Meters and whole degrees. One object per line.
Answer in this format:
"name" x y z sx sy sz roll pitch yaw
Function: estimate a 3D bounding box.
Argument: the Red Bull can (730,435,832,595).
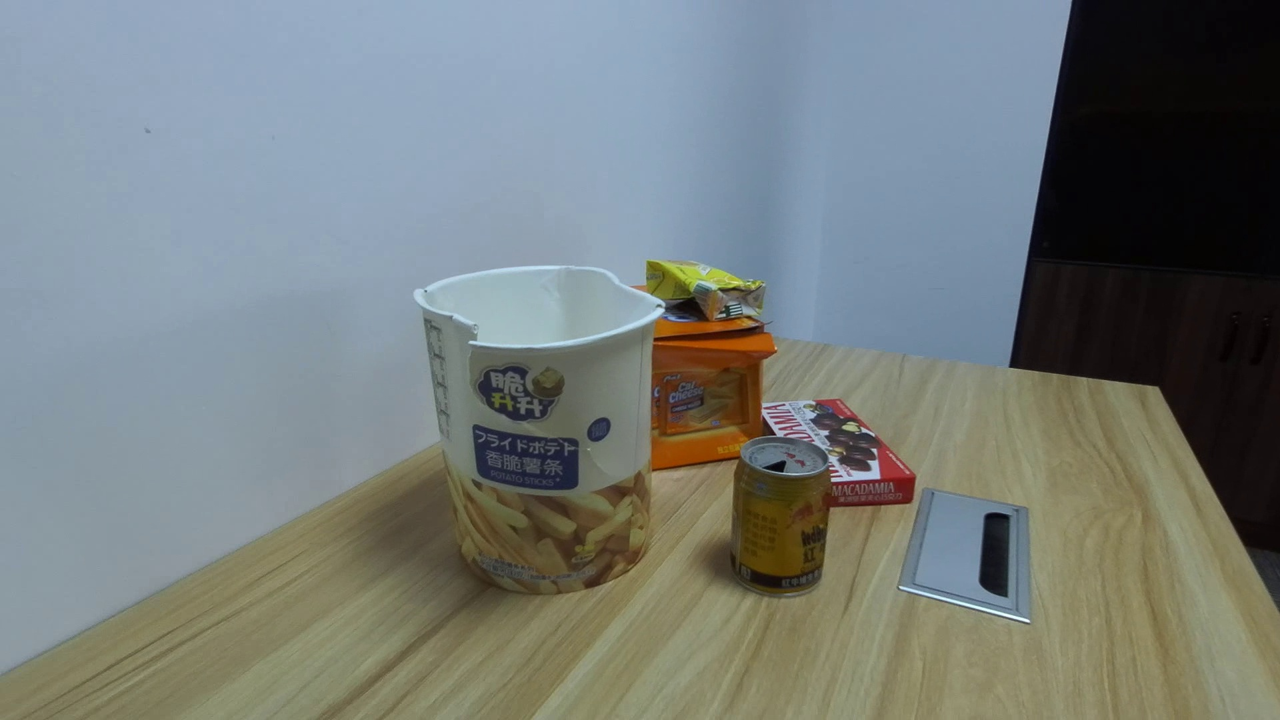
"Red Bull can" 0.096 0.106 0.487 0.068 0.093 0.068 -1 18 0

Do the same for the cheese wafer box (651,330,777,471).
"cheese wafer box" 0.028 0.009 0.737 0.150 0.137 0.226 -4 16 -14

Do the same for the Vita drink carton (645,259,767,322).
"Vita drink carton" 0.063 -0.068 0.697 0.087 0.042 0.107 -4 19 -39

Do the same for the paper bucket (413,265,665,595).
"paper bucket" -0.064 0.044 0.508 0.146 0.197 0.202 -12 22 -27

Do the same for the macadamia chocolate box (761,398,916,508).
"macadamia chocolate box" 0.176 0.083 0.669 0.096 0.027 0.177 -3 18 -4
